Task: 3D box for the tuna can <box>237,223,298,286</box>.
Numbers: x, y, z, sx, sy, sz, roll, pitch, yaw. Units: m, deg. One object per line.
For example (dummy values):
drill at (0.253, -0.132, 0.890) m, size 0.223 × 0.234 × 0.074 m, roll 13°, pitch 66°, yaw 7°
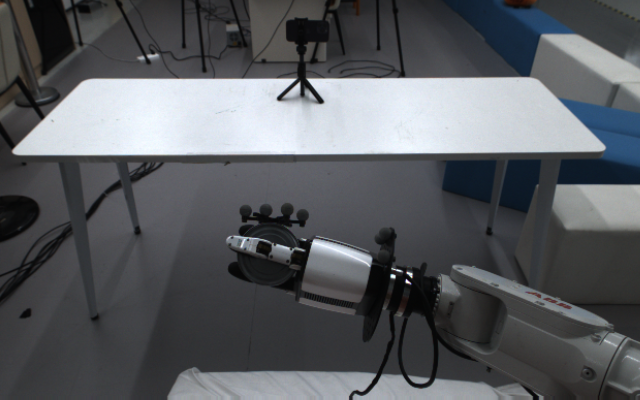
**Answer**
tuna can at (-0.067, 0.076, 0.662) m, size 0.085 × 0.034 × 0.085 m, roll 0°, pitch 77°, yaw 0°
